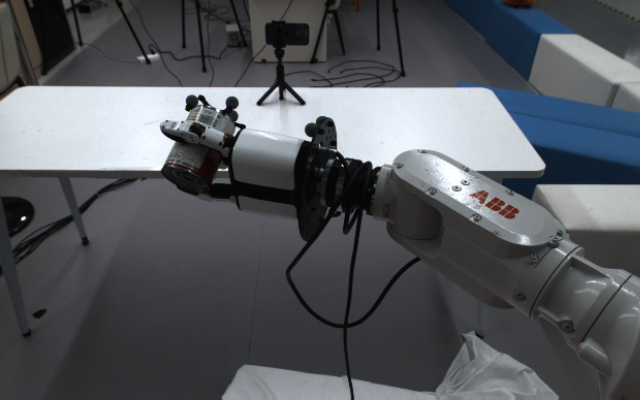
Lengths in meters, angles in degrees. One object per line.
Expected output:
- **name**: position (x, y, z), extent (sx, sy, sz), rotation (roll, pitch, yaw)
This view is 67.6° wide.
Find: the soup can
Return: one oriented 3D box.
- **soup can**: position (-0.164, -0.068, 0.659), extent (0.067, 0.067, 0.101), rotation (12, 66, 14)
